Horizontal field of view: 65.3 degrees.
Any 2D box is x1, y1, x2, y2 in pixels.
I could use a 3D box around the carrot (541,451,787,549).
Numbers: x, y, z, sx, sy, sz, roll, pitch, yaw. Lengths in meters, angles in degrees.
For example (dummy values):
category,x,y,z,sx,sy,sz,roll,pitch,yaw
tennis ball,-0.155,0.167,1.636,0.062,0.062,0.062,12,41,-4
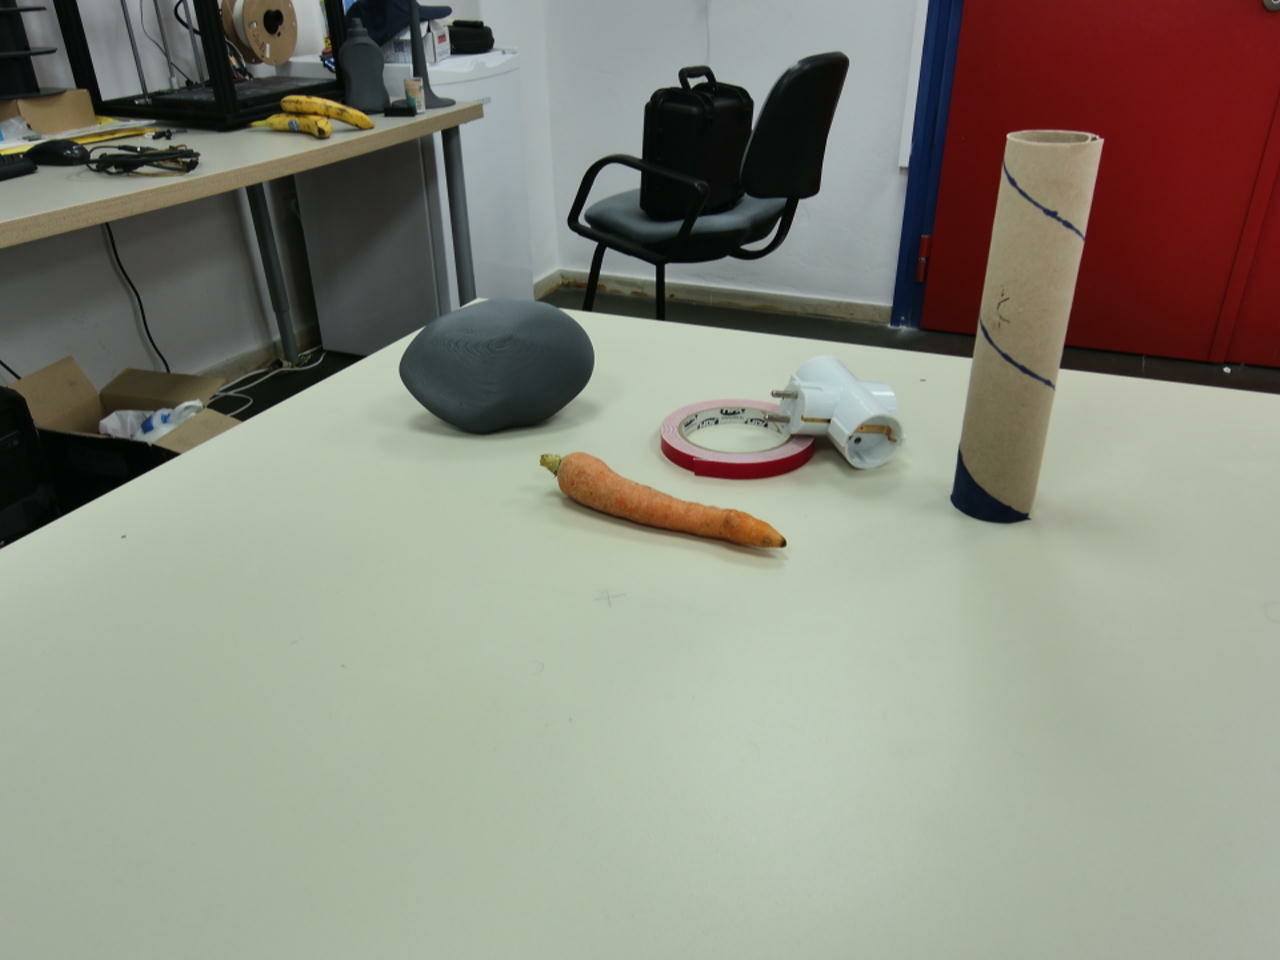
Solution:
category,x,y,z,sx,sy,sz,roll,pitch,yaw
carrot,0.012,0.013,0.624,0.173,0.032,0.030,15,30,30
